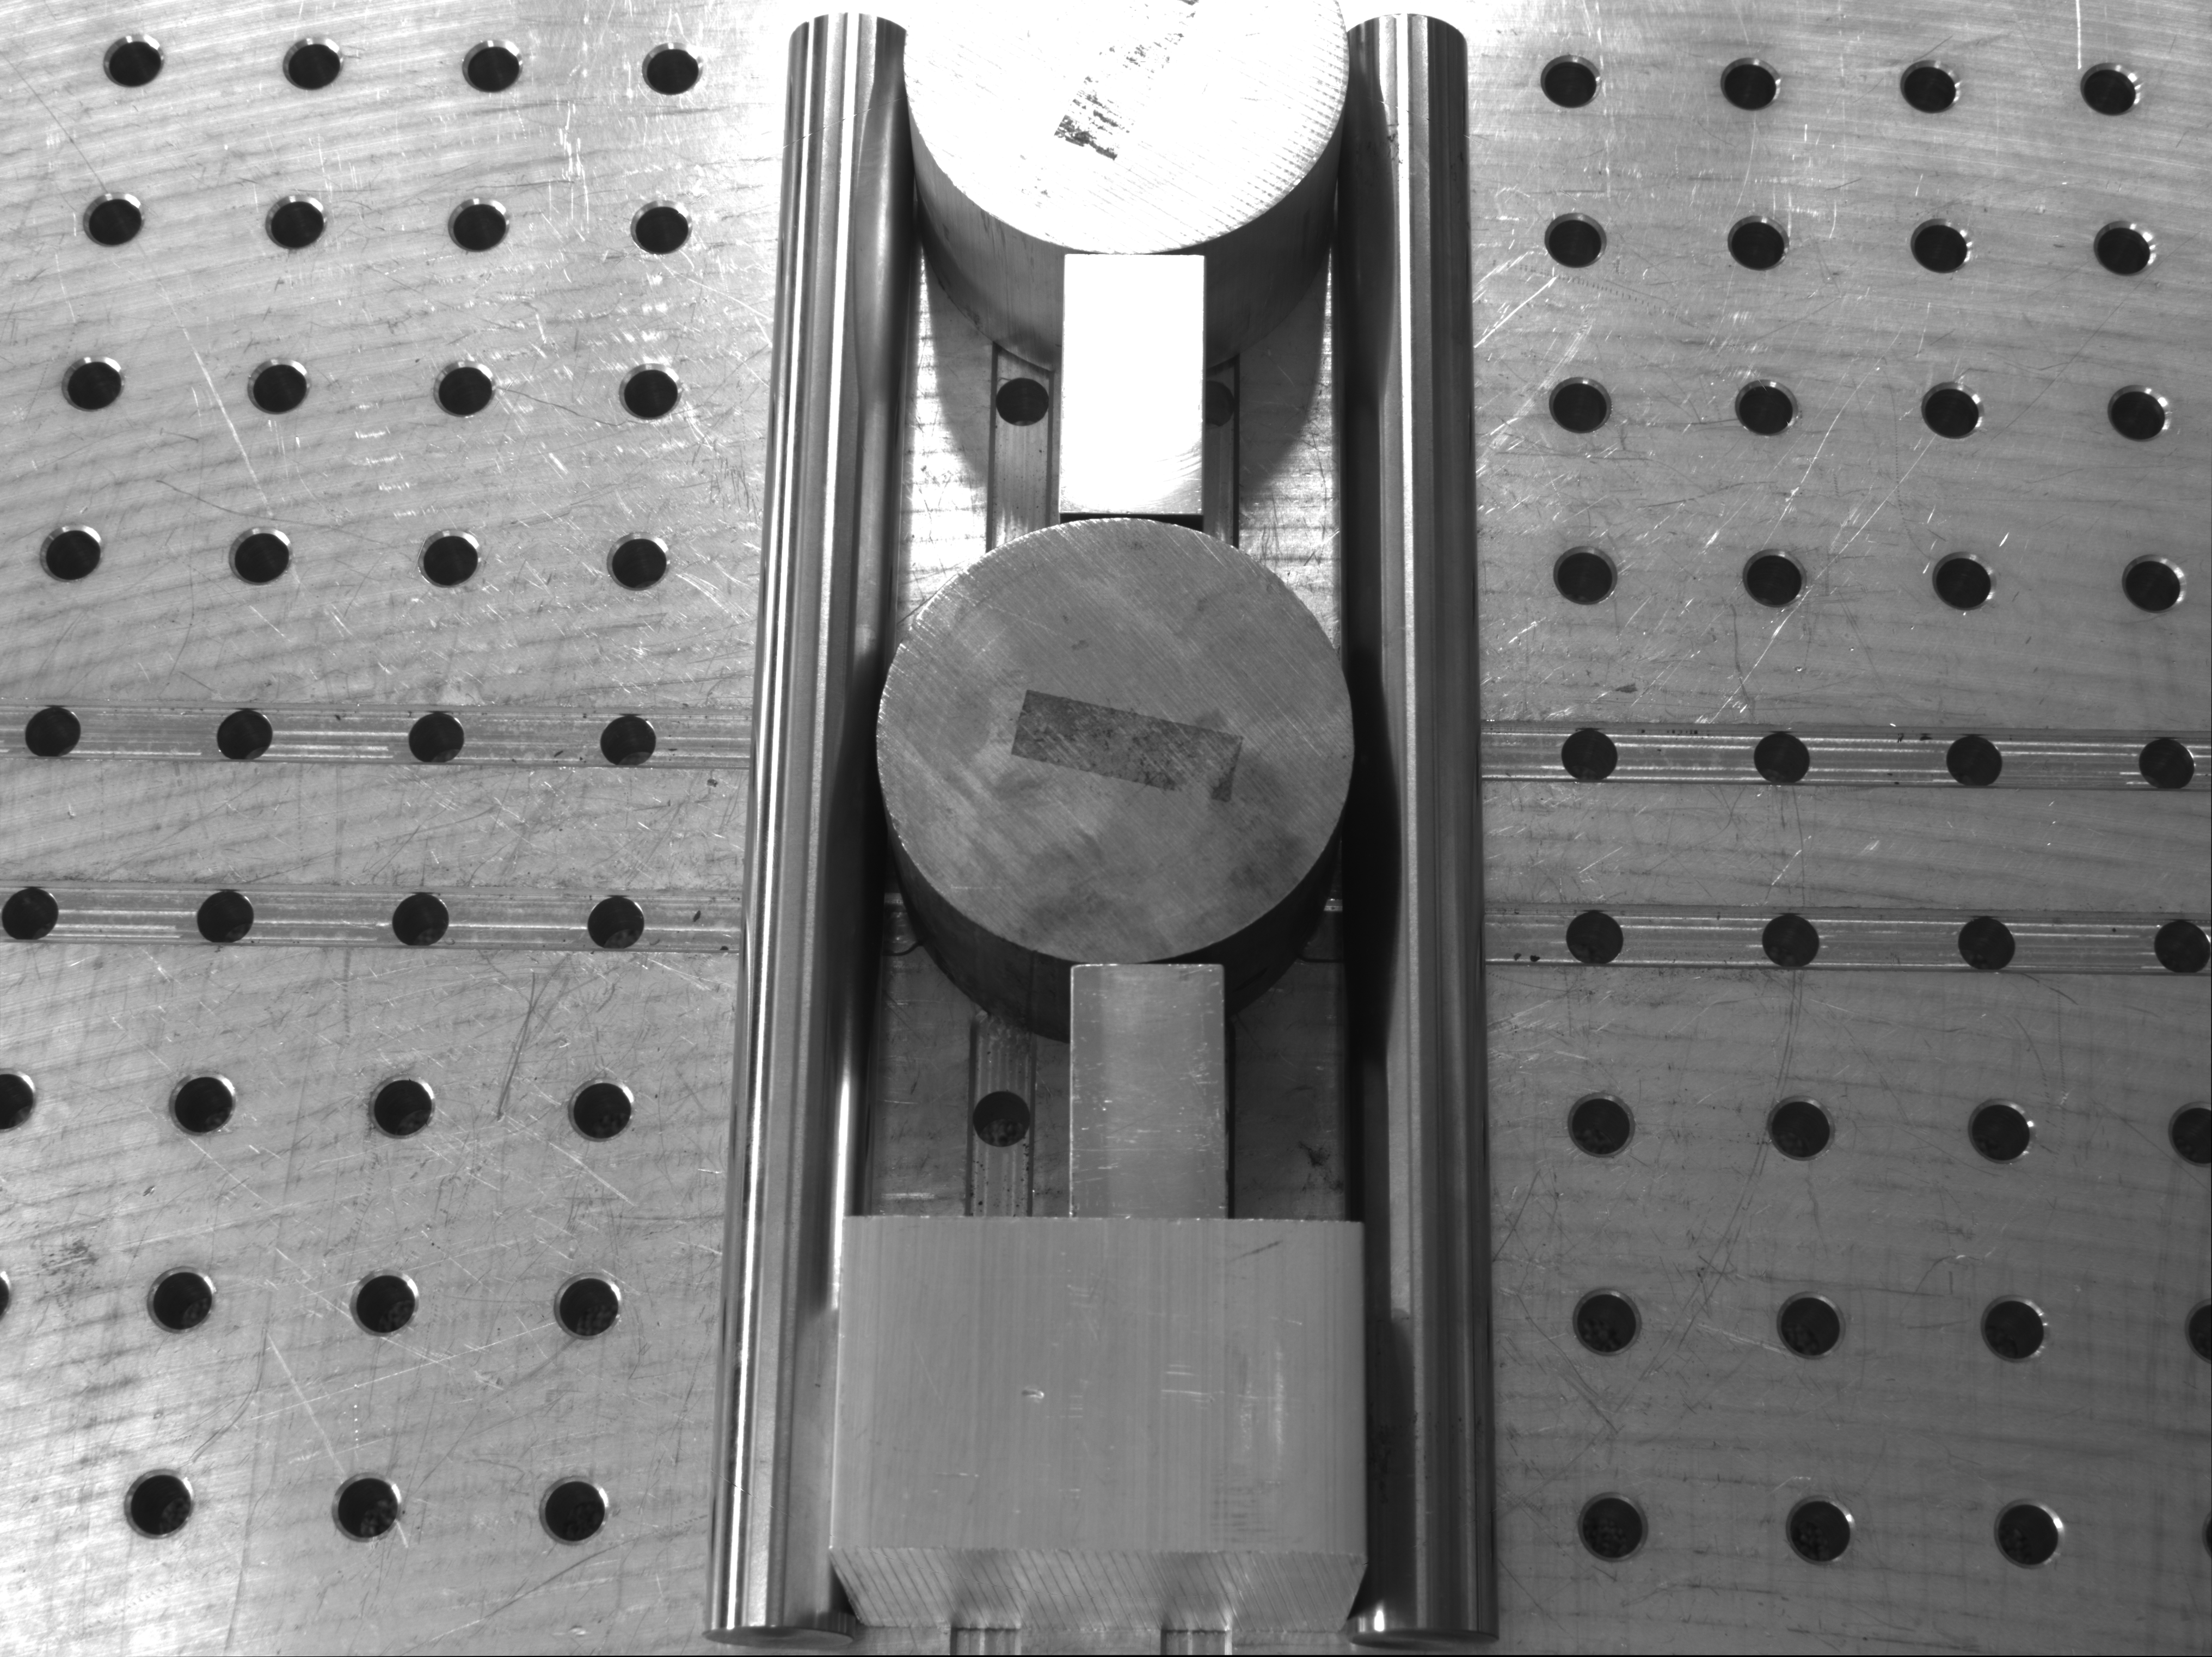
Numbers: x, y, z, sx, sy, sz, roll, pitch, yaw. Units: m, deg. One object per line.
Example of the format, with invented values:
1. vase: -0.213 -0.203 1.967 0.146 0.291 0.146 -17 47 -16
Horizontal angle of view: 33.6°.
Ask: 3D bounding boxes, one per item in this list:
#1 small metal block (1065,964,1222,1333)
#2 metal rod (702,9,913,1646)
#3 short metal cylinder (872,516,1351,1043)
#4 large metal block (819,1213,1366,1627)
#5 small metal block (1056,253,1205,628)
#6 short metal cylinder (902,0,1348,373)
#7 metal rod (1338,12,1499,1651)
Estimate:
1. small metal block: 0.006 0.054 0.613 0.025 0.050 0.050 0 70 0
2. metal rod: -0.051 -0.009 0.649 0.025 0.025 0.300 1 70 0
3. short metal cylinder: 0.001 -0.007 0.636 0.080 0.050 0.080 0 70 0
4. large metal block: -0.001 0.096 0.583 0.080 0.080 0.050 1 70 0
5. small metal block: 0.005 -0.069 0.658 0.025 0.050 0.050 1 70 1
6. short metal cylinder: 0.004 -0.130 0.681 0.080 0.050 0.080 0 70 0
7. metal rod: 0.054 -0.008 0.649 0.025 0.025 0.300 1 70 0
